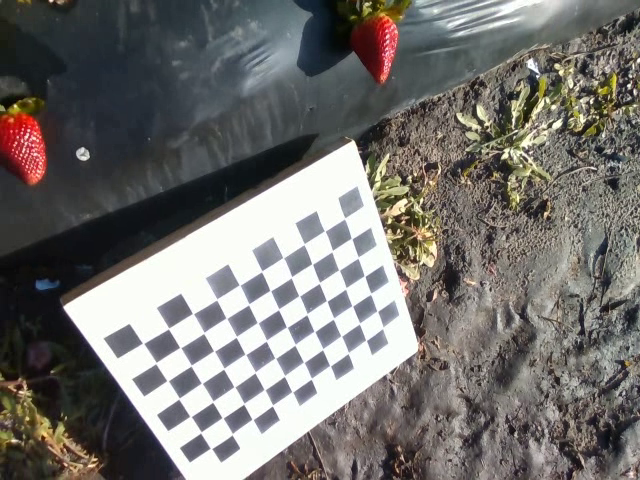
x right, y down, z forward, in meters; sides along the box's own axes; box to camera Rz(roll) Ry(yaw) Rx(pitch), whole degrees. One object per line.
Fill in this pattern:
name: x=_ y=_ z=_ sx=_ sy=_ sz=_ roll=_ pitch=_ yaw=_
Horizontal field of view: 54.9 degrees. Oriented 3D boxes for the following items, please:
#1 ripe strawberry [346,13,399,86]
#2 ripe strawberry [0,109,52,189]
ripe strawberry: x=0.041 y=-0.149 z=0.478 sx=0.042 sy=0.059 sz=0.042 roll=-12 pitch=13 yaw=-32
ripe strawberry: x=-0.199 y=-0.059 z=0.406 sx=0.045 sy=0.055 sz=0.041 roll=-27 pitch=-1 yaw=-26
